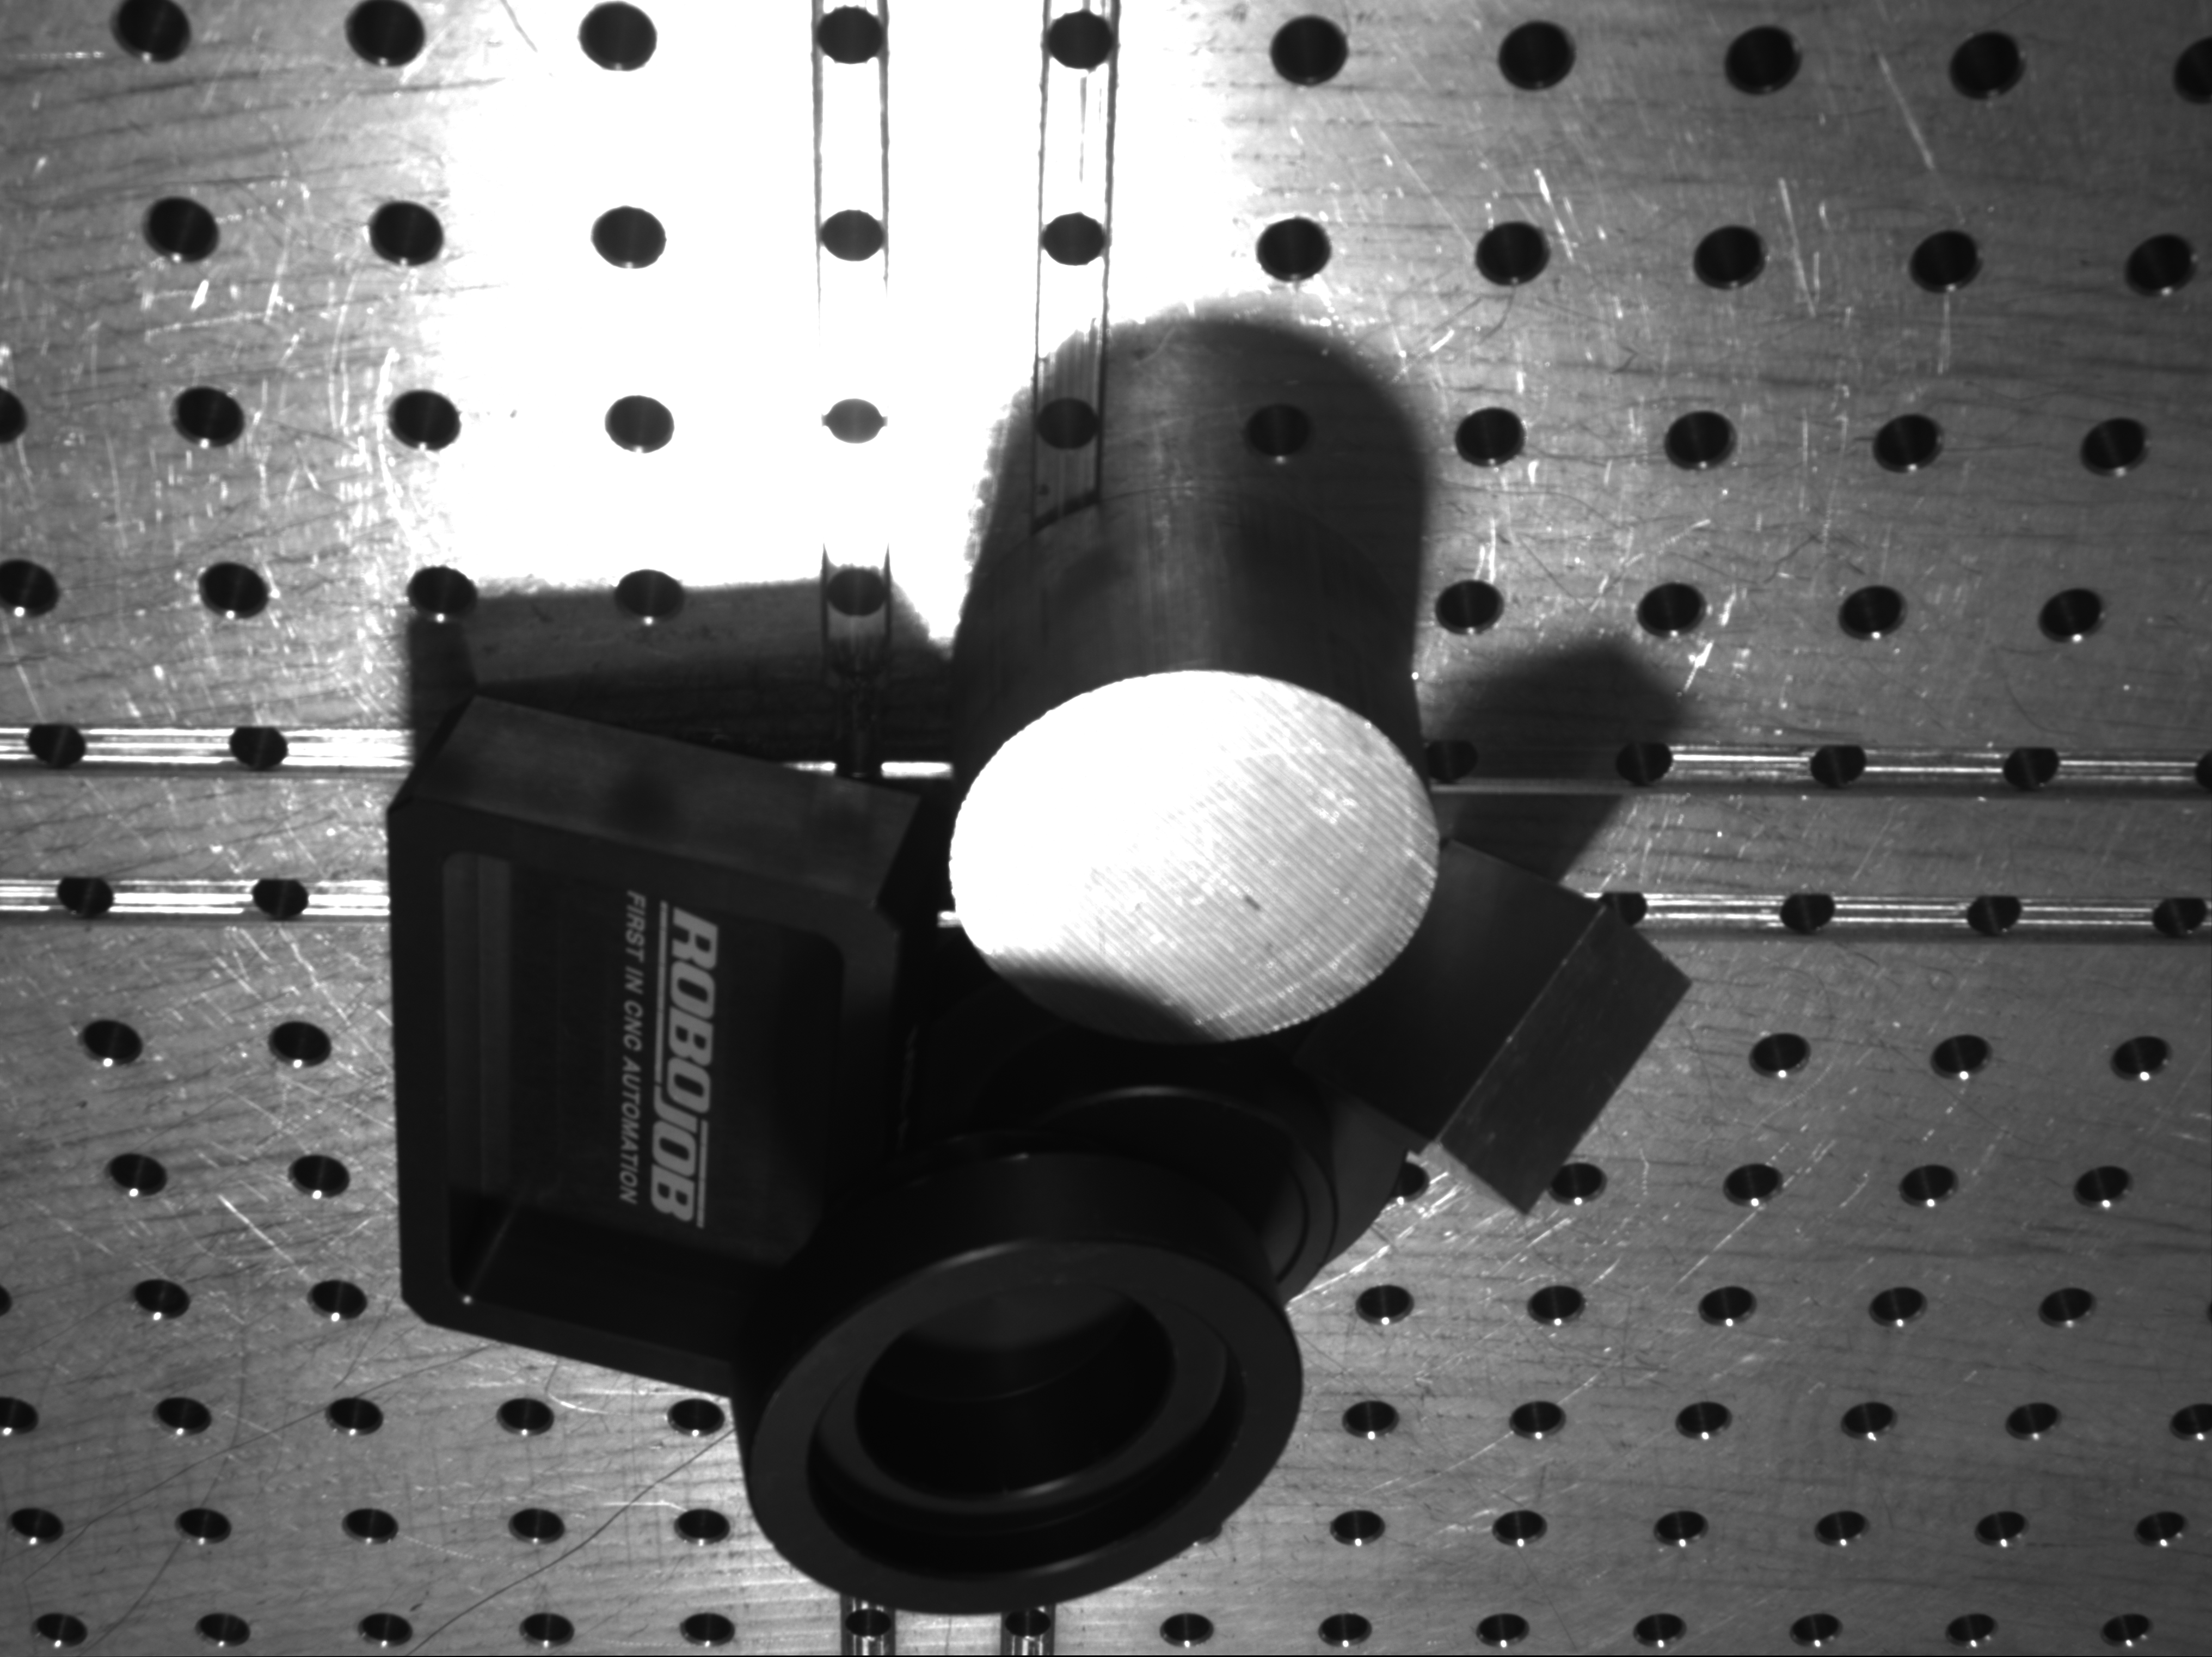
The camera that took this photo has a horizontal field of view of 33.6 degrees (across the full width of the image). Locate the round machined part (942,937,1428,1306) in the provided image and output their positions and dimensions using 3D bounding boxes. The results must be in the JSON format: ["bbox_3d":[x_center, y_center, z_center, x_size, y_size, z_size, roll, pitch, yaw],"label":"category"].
[{"bbox_3d":[0.012,0.060,0.679,0.098,0.042,0.098,-1,130,-1],"label":"round machined part"}]

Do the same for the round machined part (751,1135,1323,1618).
[{"bbox_3d":[-0.014,0.092,0.645,0.098,0.042,0.098,-8,132,-9],"label":"round machined part"}]

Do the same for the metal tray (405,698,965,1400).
[{"bbox_3d":[-0.077,0.045,0.658,0.090,0.030,0.130,13,130,7],"label":"metal tray"}]

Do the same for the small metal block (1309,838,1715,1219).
[{"bbox_3d":[0.071,0.034,0.643,0.025,0.050,0.050,40,84,-29],"label":"small metal block"}]

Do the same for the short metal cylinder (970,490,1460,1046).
[{"bbox_3d":[0.017,-0.010,0.617,0.080,0.050,0.080,-1,130,-1],"label":"short metal cylinder"}]
